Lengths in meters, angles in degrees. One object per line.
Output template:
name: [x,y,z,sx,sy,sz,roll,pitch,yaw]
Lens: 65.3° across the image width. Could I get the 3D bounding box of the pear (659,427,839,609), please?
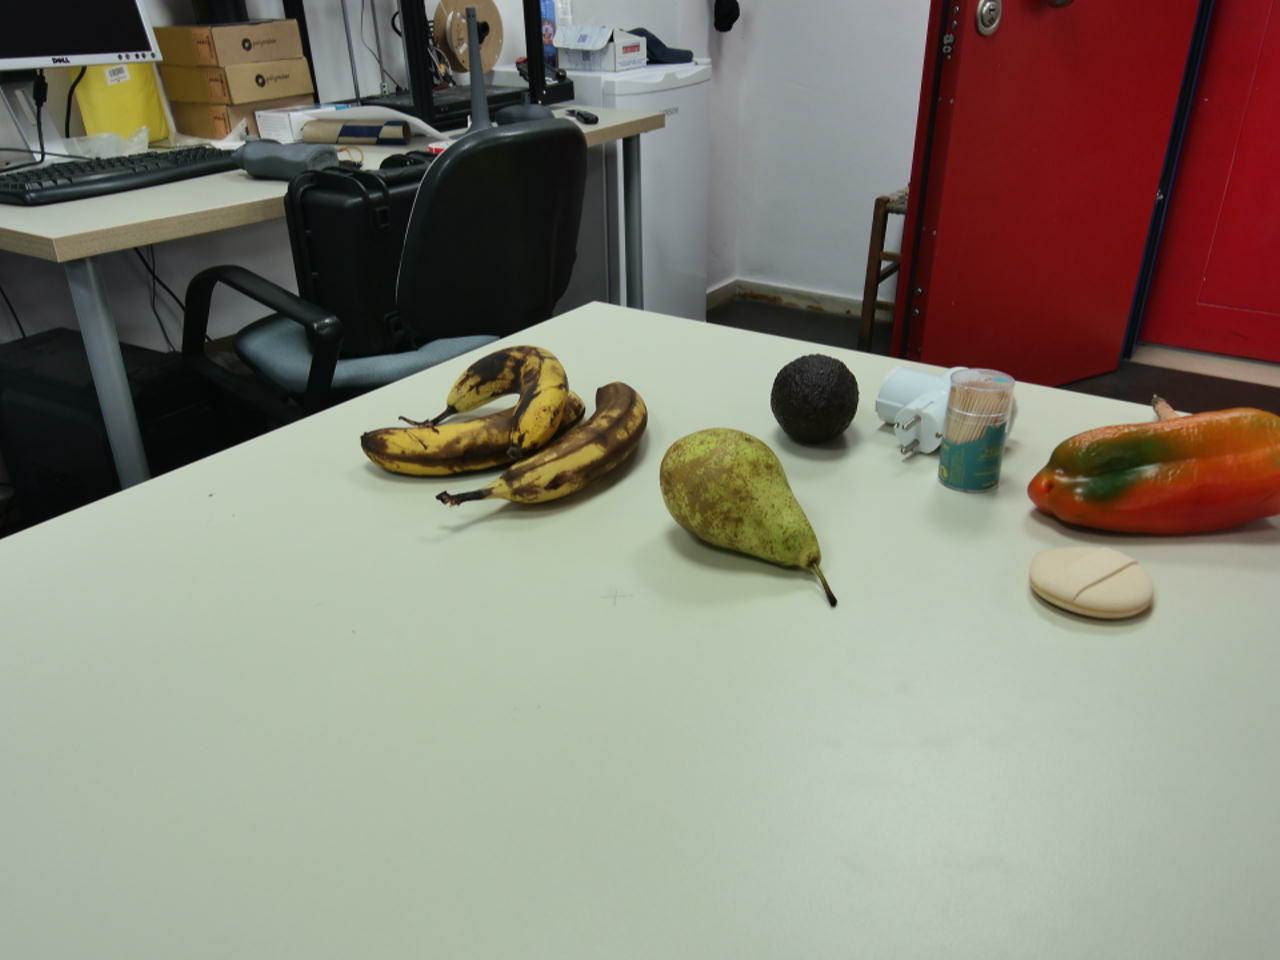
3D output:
pear: [0.070,0.010,0.598,0.128,0.075,0.071,14,28,25]
